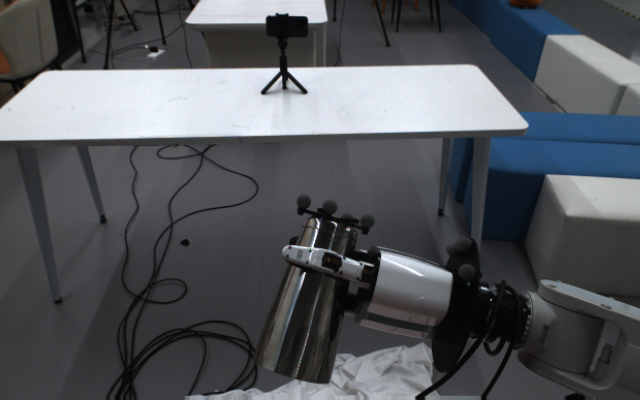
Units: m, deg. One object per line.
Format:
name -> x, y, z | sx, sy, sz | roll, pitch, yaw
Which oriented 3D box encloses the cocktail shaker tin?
cocktail shaker tin -> -0.007, 0.109, 0.562 | 0.093, 0.093, 0.170 | 13, 80, 16
